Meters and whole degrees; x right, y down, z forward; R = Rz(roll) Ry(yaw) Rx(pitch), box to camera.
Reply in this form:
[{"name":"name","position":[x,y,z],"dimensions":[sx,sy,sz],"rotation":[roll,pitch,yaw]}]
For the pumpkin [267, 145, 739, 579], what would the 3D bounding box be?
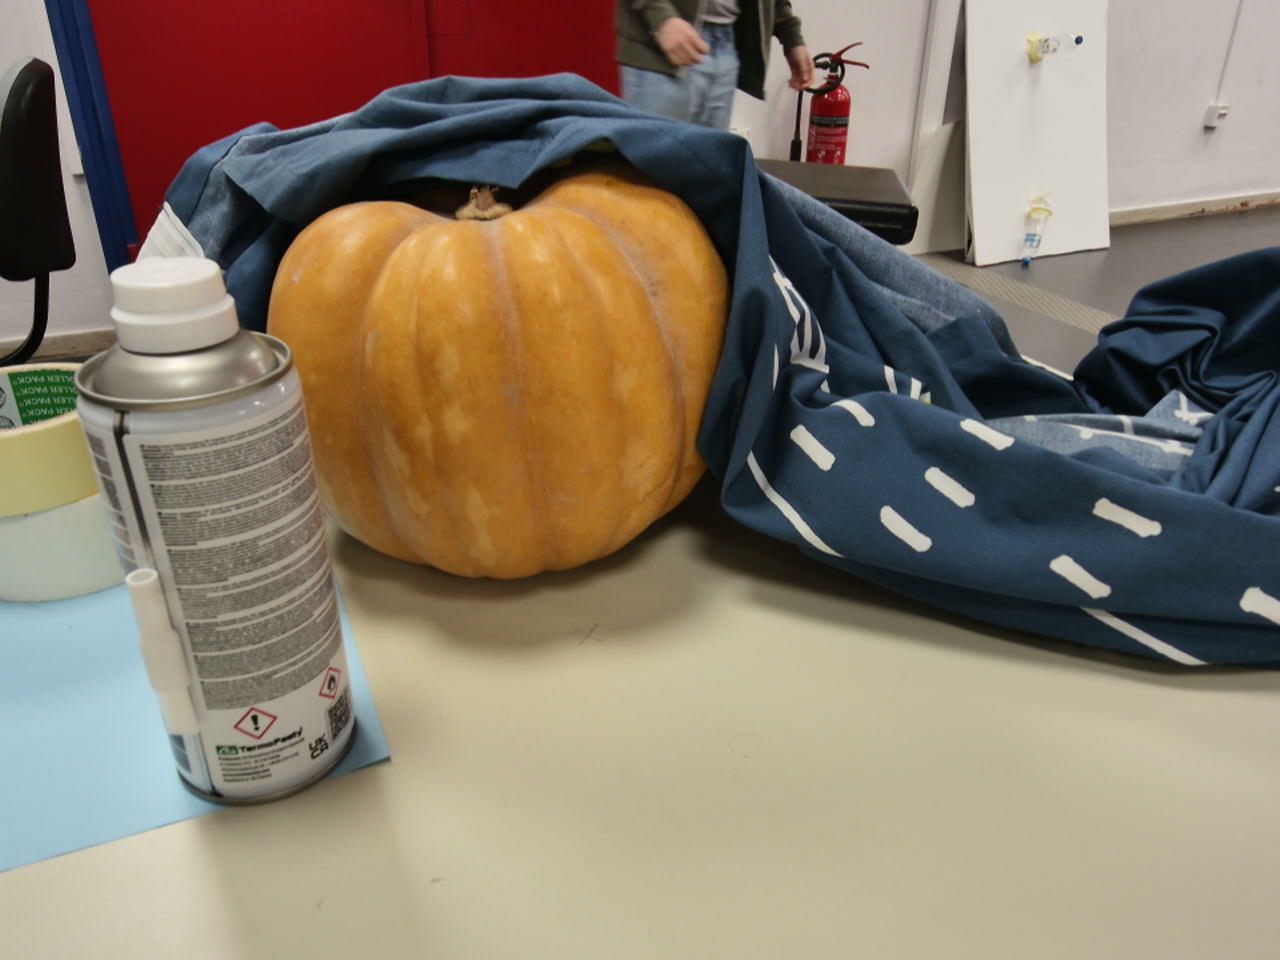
[{"name":"pumpkin","position":[-0.061,-0.058,0.490],"dimensions":[0.230,0.194,0.230],"rotation":[1,26,0]}]
